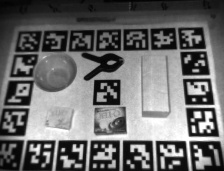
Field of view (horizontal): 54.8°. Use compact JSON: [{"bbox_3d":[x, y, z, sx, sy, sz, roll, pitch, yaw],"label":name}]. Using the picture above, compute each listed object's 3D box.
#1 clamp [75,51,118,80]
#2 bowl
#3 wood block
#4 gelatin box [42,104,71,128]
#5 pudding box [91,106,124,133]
[{"bbox_3d":[-0.056,-0.090,0.843,0.165,0.037,0.121,-10,70,-2],"label":"clamp"},{"bbox_3d":[-0.219,-0.054,0.829,0.161,0.055,0.161,-1,74,3],"label":"bowl"},{"bbox_3d":[0.145,0.001,0.761,0.090,0.091,0.206,3,71,4],"label":"wood block"},{"bbox_3d":[-0.199,0.109,0.776,0.089,0.030,0.073,8,73,6],"label":"gelatin box"},{"bbox_3d":[-0.014,0.120,0.758,0.113,0.039,0.090,-1,75,6],"label":"pudding box"}]
